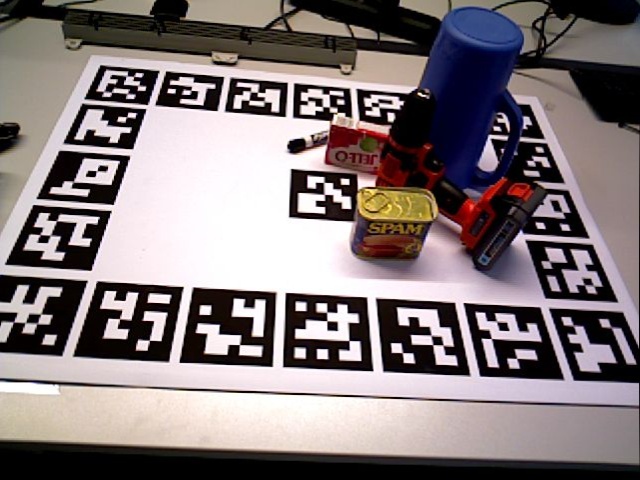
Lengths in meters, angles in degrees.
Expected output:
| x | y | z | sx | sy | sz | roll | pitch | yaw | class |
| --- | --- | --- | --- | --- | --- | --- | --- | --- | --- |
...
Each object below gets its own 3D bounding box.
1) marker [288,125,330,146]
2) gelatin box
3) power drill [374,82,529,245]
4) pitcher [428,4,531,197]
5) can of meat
| x | y | z | sx | sy | sz | roll | pitch | yaw | class |
| --- | --- | --- | --- | --- | --- | --- | --- | --- | --- |
| 0.006 | -0.169 | 0.848 | 0.119 | 0.020 | 0.019 | -18 | 56 | -19 | marker |
| 0.063 | -0.139 | 0.800 | 0.089 | 0.075 | 0.029 | 14 | 54 | 1 | gelatin box |
| 0.164 | -0.091 | 0.702 | 0.187 | 0.189 | 0.056 | 35 | 57 | 12 | power drill |
| 0.215 | -0.181 | 0.752 | 0.189 | 0.248 | 0.130 | 26 | 55 | 21 | pitcher |
| 0.092 | -0.017 | 0.694 | 0.101 | 0.086 | 0.057 | 4 | 49 | -6 | can of meat |
